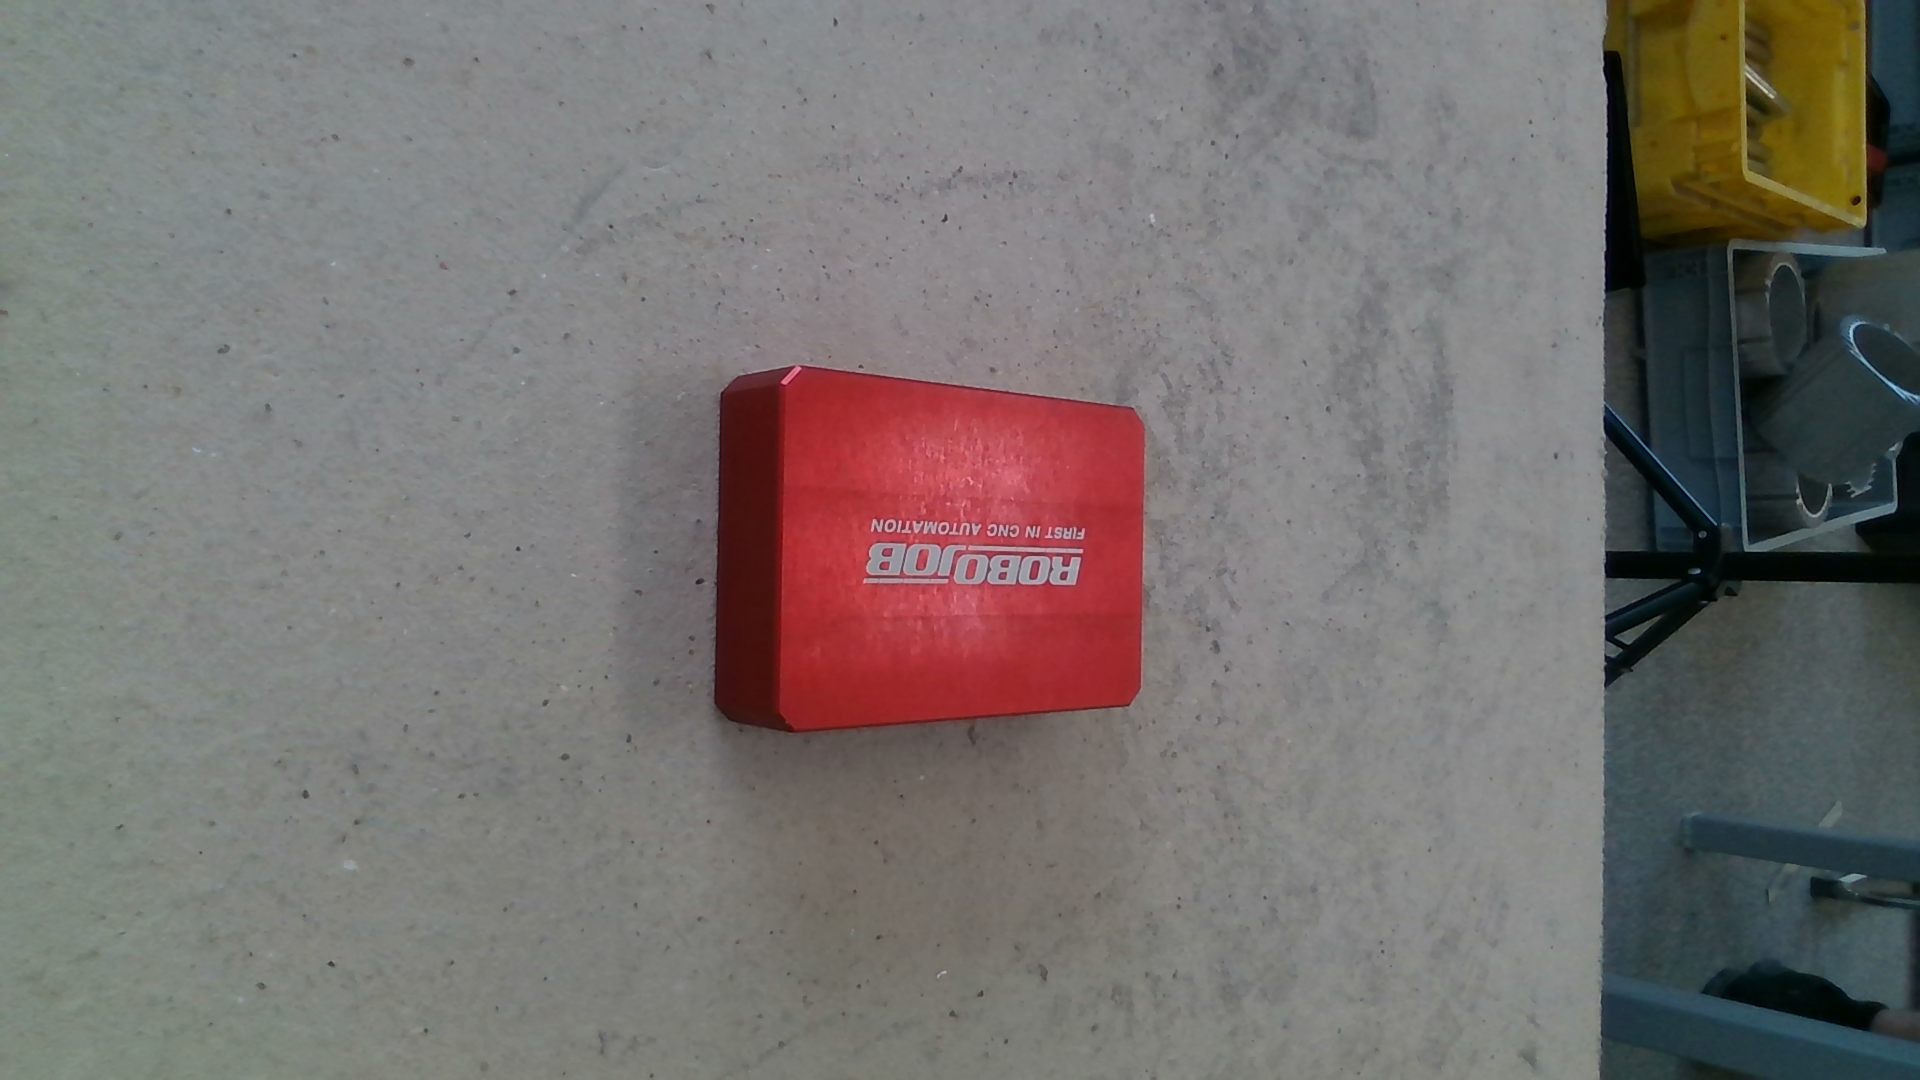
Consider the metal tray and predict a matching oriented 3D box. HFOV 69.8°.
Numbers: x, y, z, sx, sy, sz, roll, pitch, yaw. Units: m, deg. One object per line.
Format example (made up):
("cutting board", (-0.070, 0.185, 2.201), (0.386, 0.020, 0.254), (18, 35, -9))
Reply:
("metal tray", (-0.004, 0.003, 0.384), (0.130, 0.030, 0.090), (1, 90, -40))
